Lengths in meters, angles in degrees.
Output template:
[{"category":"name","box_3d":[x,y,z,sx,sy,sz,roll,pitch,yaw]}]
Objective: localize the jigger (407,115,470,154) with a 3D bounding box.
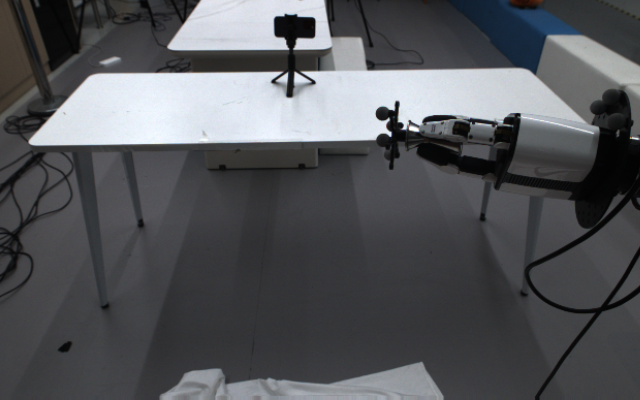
[{"category":"jigger","box_3d":[0.152,-0.084,0.613,0.071,0.043,0.043,4,34,18]}]
